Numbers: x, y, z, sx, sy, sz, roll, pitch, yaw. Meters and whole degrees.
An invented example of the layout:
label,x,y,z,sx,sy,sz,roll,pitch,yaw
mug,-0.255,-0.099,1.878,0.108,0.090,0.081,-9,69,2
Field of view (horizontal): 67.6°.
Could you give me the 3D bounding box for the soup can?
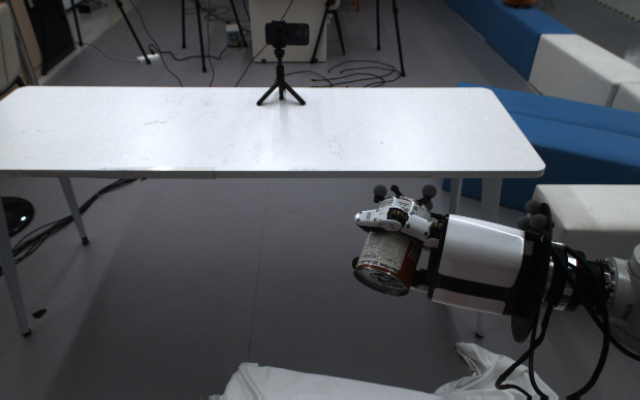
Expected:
label,x,y,z,sx,sy,sz,roll,pitch,yaw
soup can,0.091,0.054,0.580,0.067,0.067,0.101,15,63,18
